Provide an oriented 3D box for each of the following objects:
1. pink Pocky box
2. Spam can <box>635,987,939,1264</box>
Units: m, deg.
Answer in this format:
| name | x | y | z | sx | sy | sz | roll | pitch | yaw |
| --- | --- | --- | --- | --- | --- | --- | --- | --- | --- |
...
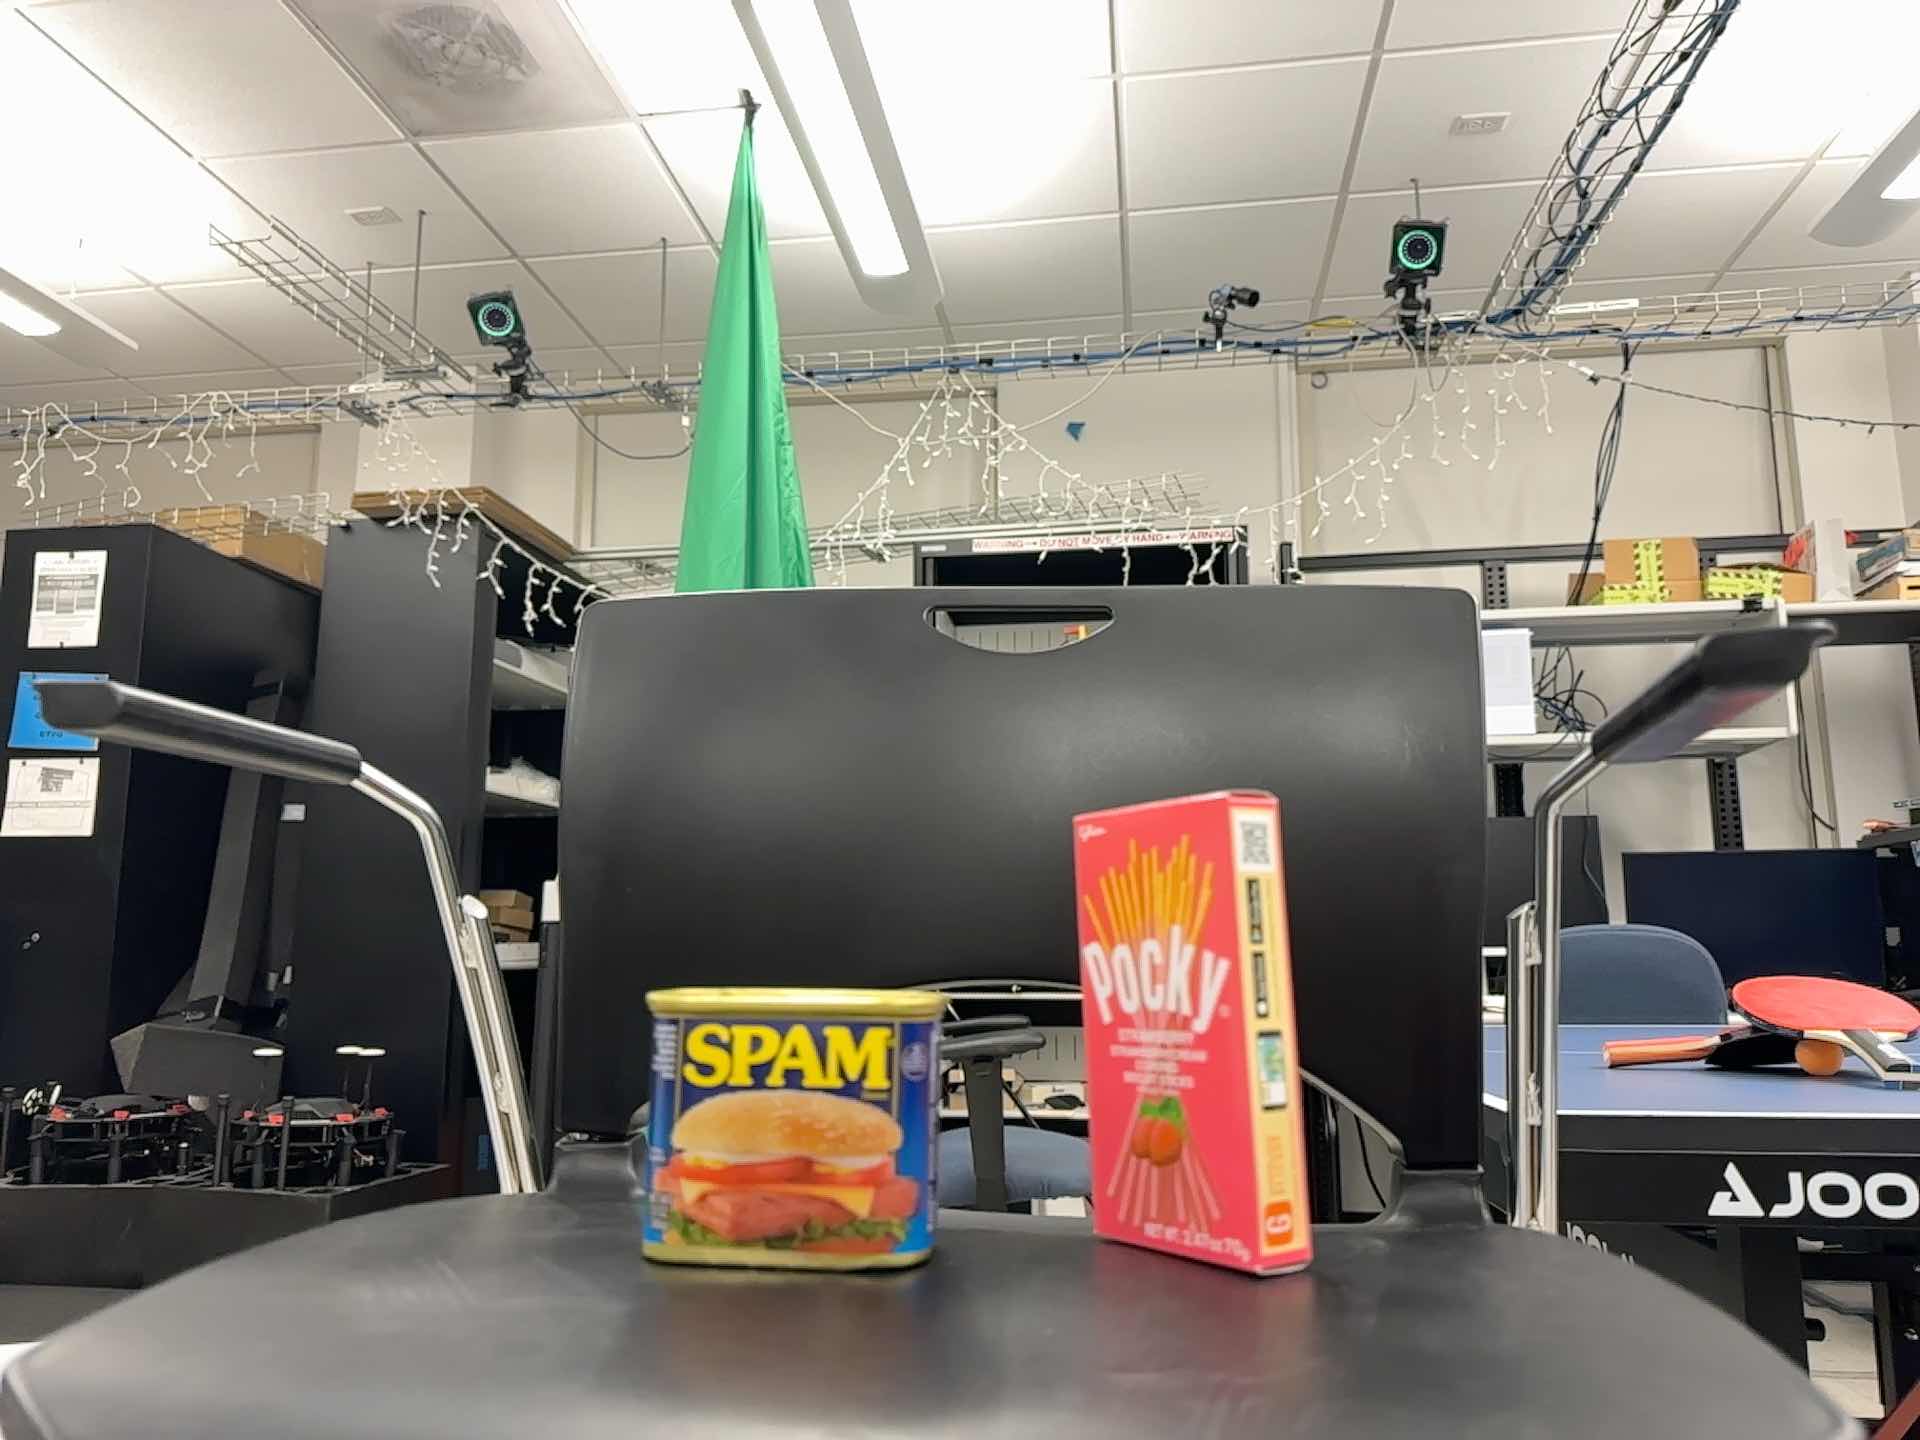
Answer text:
| name | x | y | z | sx | sy | sz | roll | pitch | yaw |
| --- | --- | --- | --- | --- | --- | --- | --- | --- | --- |
| pink Pocky box | 0.078 | 0.105 | 0.470 | 0.029 | 0.154 | 0.084 | 5 | -13 | -33 |
| Spam can | -0.060 | 0.136 | 0.463 | 0.100 | 0.083 | 0.056 | -1 | -10 | 12 |
